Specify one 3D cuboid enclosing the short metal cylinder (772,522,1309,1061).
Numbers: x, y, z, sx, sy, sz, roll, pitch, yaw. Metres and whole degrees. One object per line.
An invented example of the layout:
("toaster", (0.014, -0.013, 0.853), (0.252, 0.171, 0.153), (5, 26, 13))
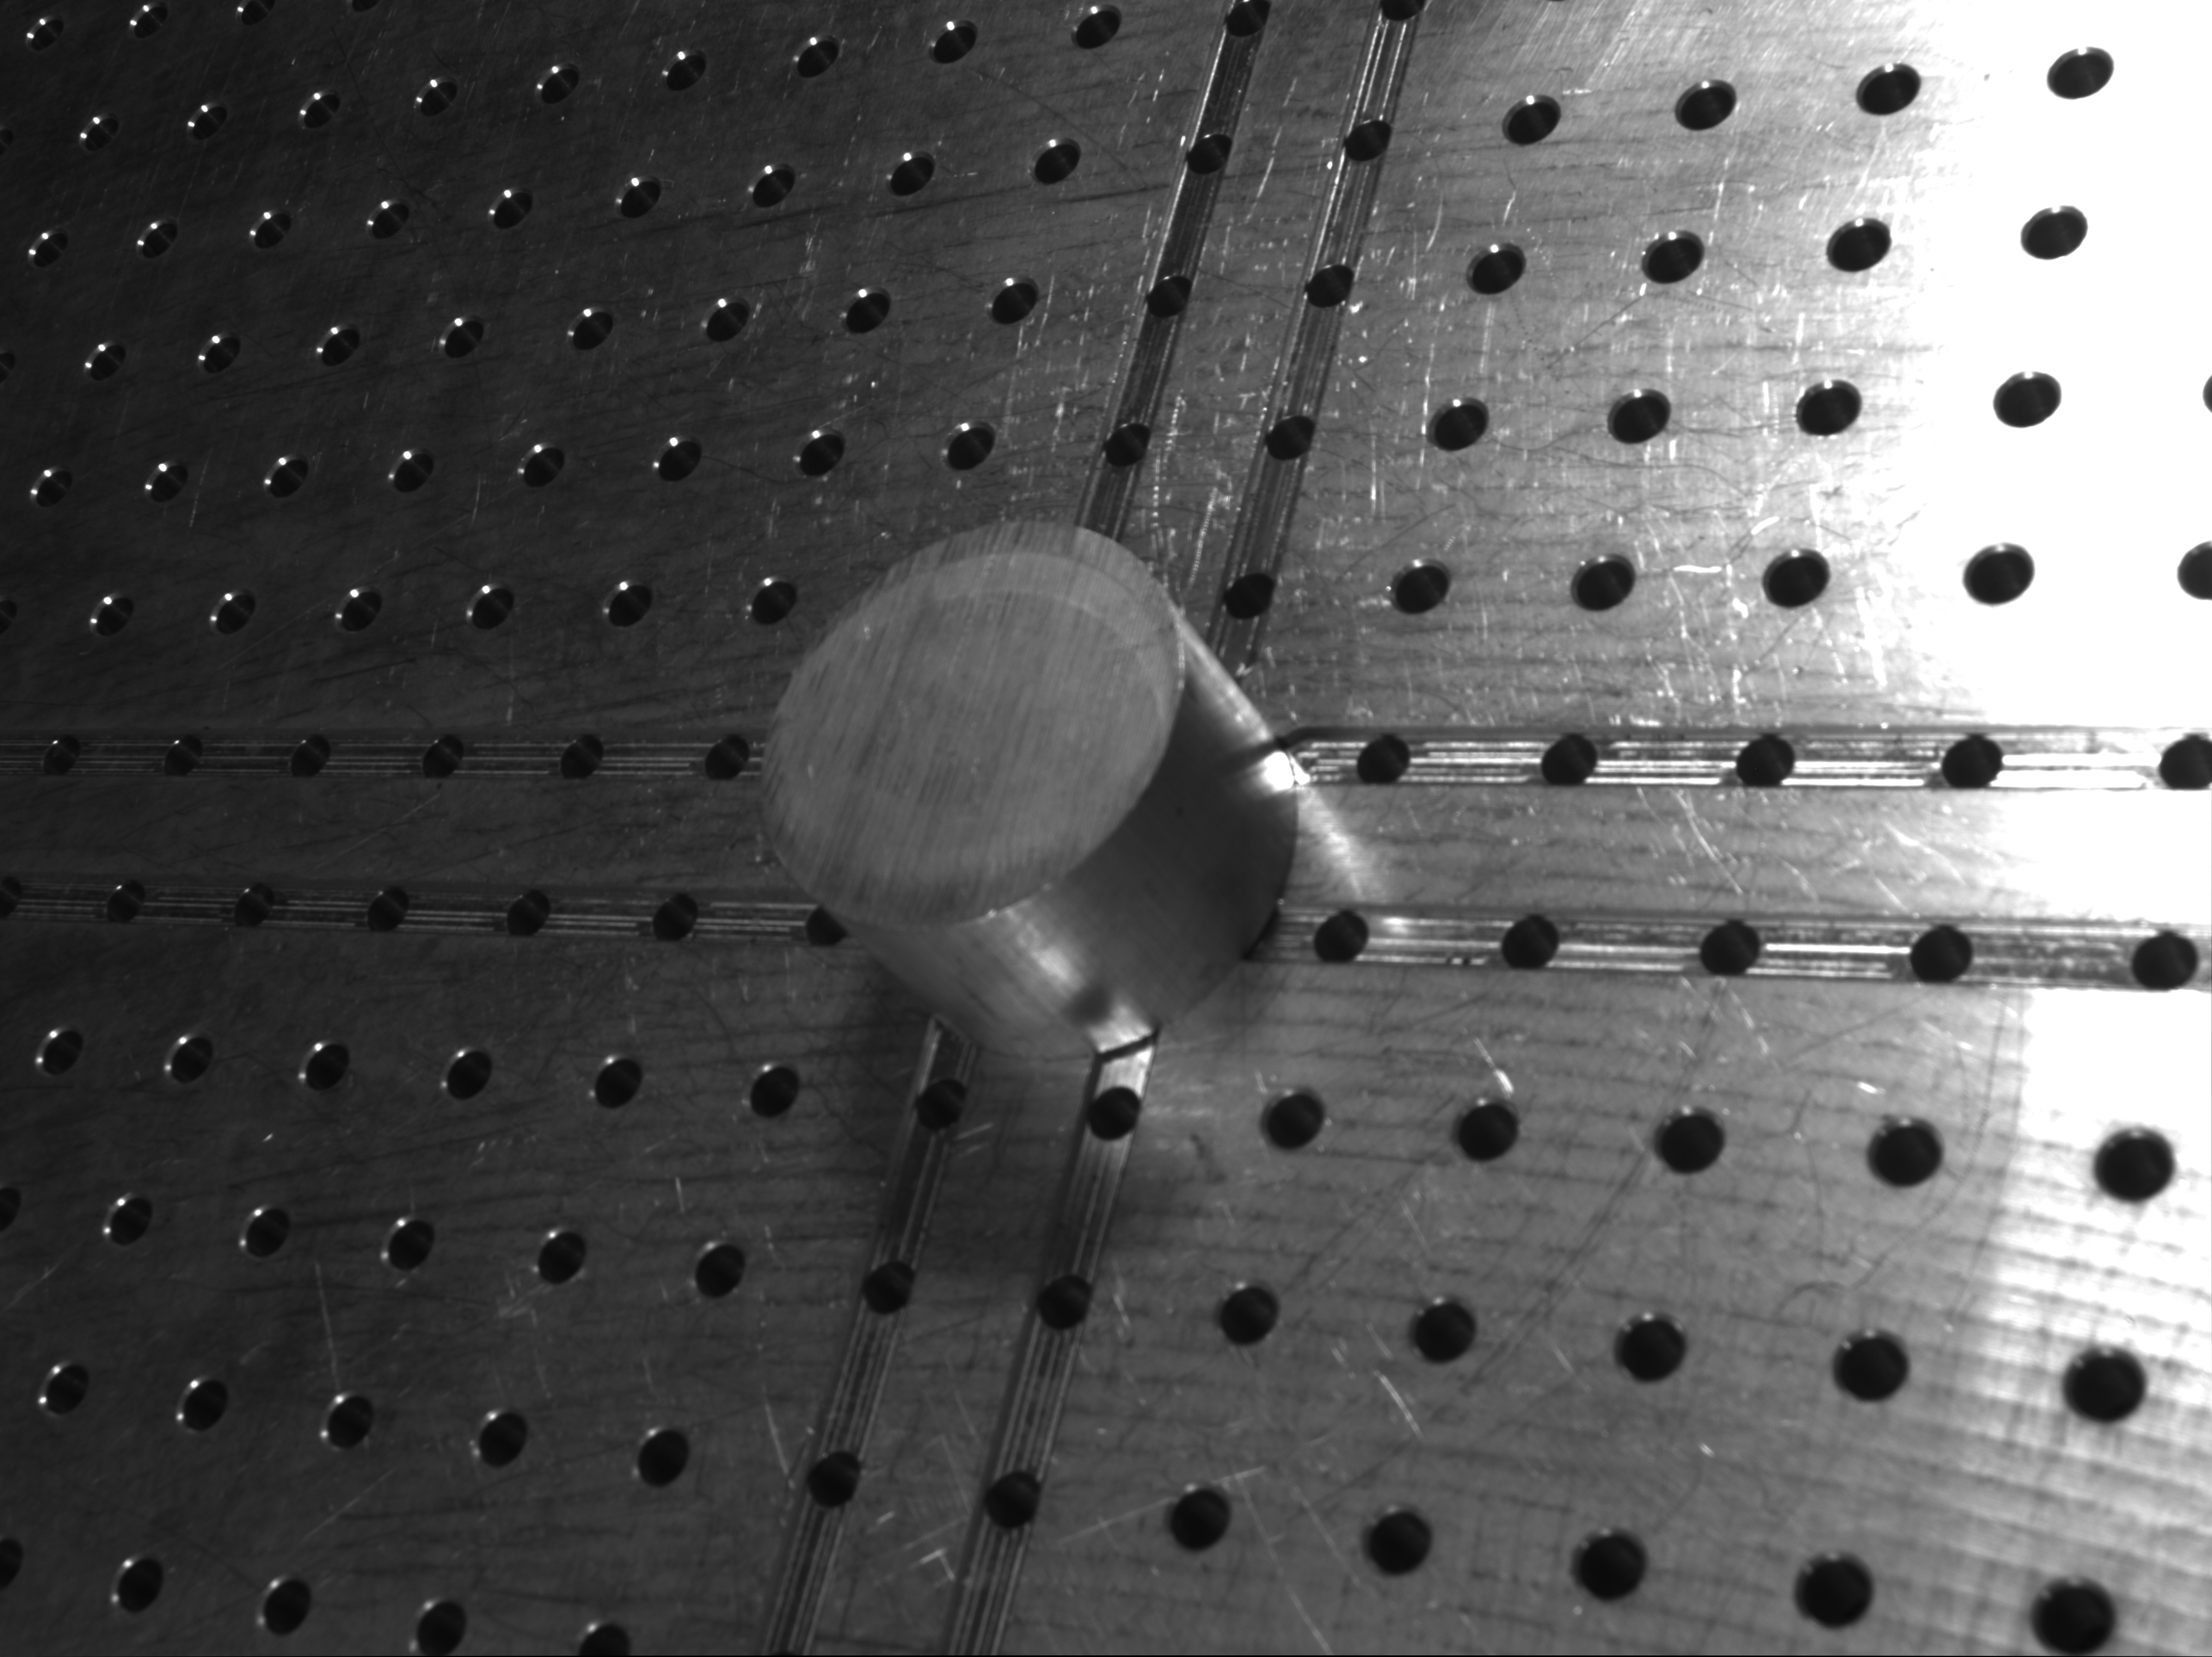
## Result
("short metal cylinder", (-0.011, -0.006, 0.640), (0.080, 0.050, 0.080), (-13, 56, 21))
